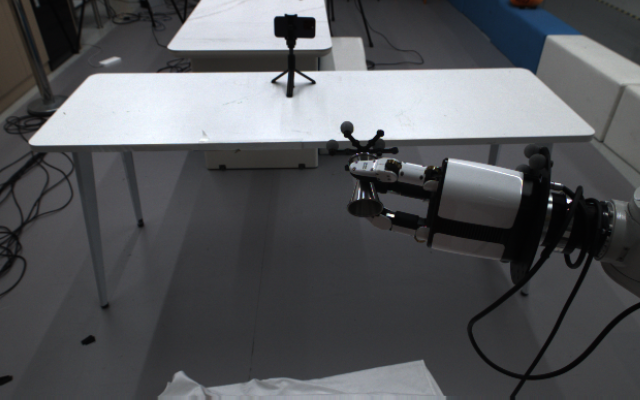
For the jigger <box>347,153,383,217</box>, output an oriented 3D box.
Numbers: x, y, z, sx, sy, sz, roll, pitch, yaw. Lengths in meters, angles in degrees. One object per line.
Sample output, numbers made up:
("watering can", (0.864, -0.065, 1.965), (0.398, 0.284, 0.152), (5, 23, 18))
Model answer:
("jigger", (0.055, -0.022, 0.590), (0.043, 0.043, 0.071), (2, 59, 0))
